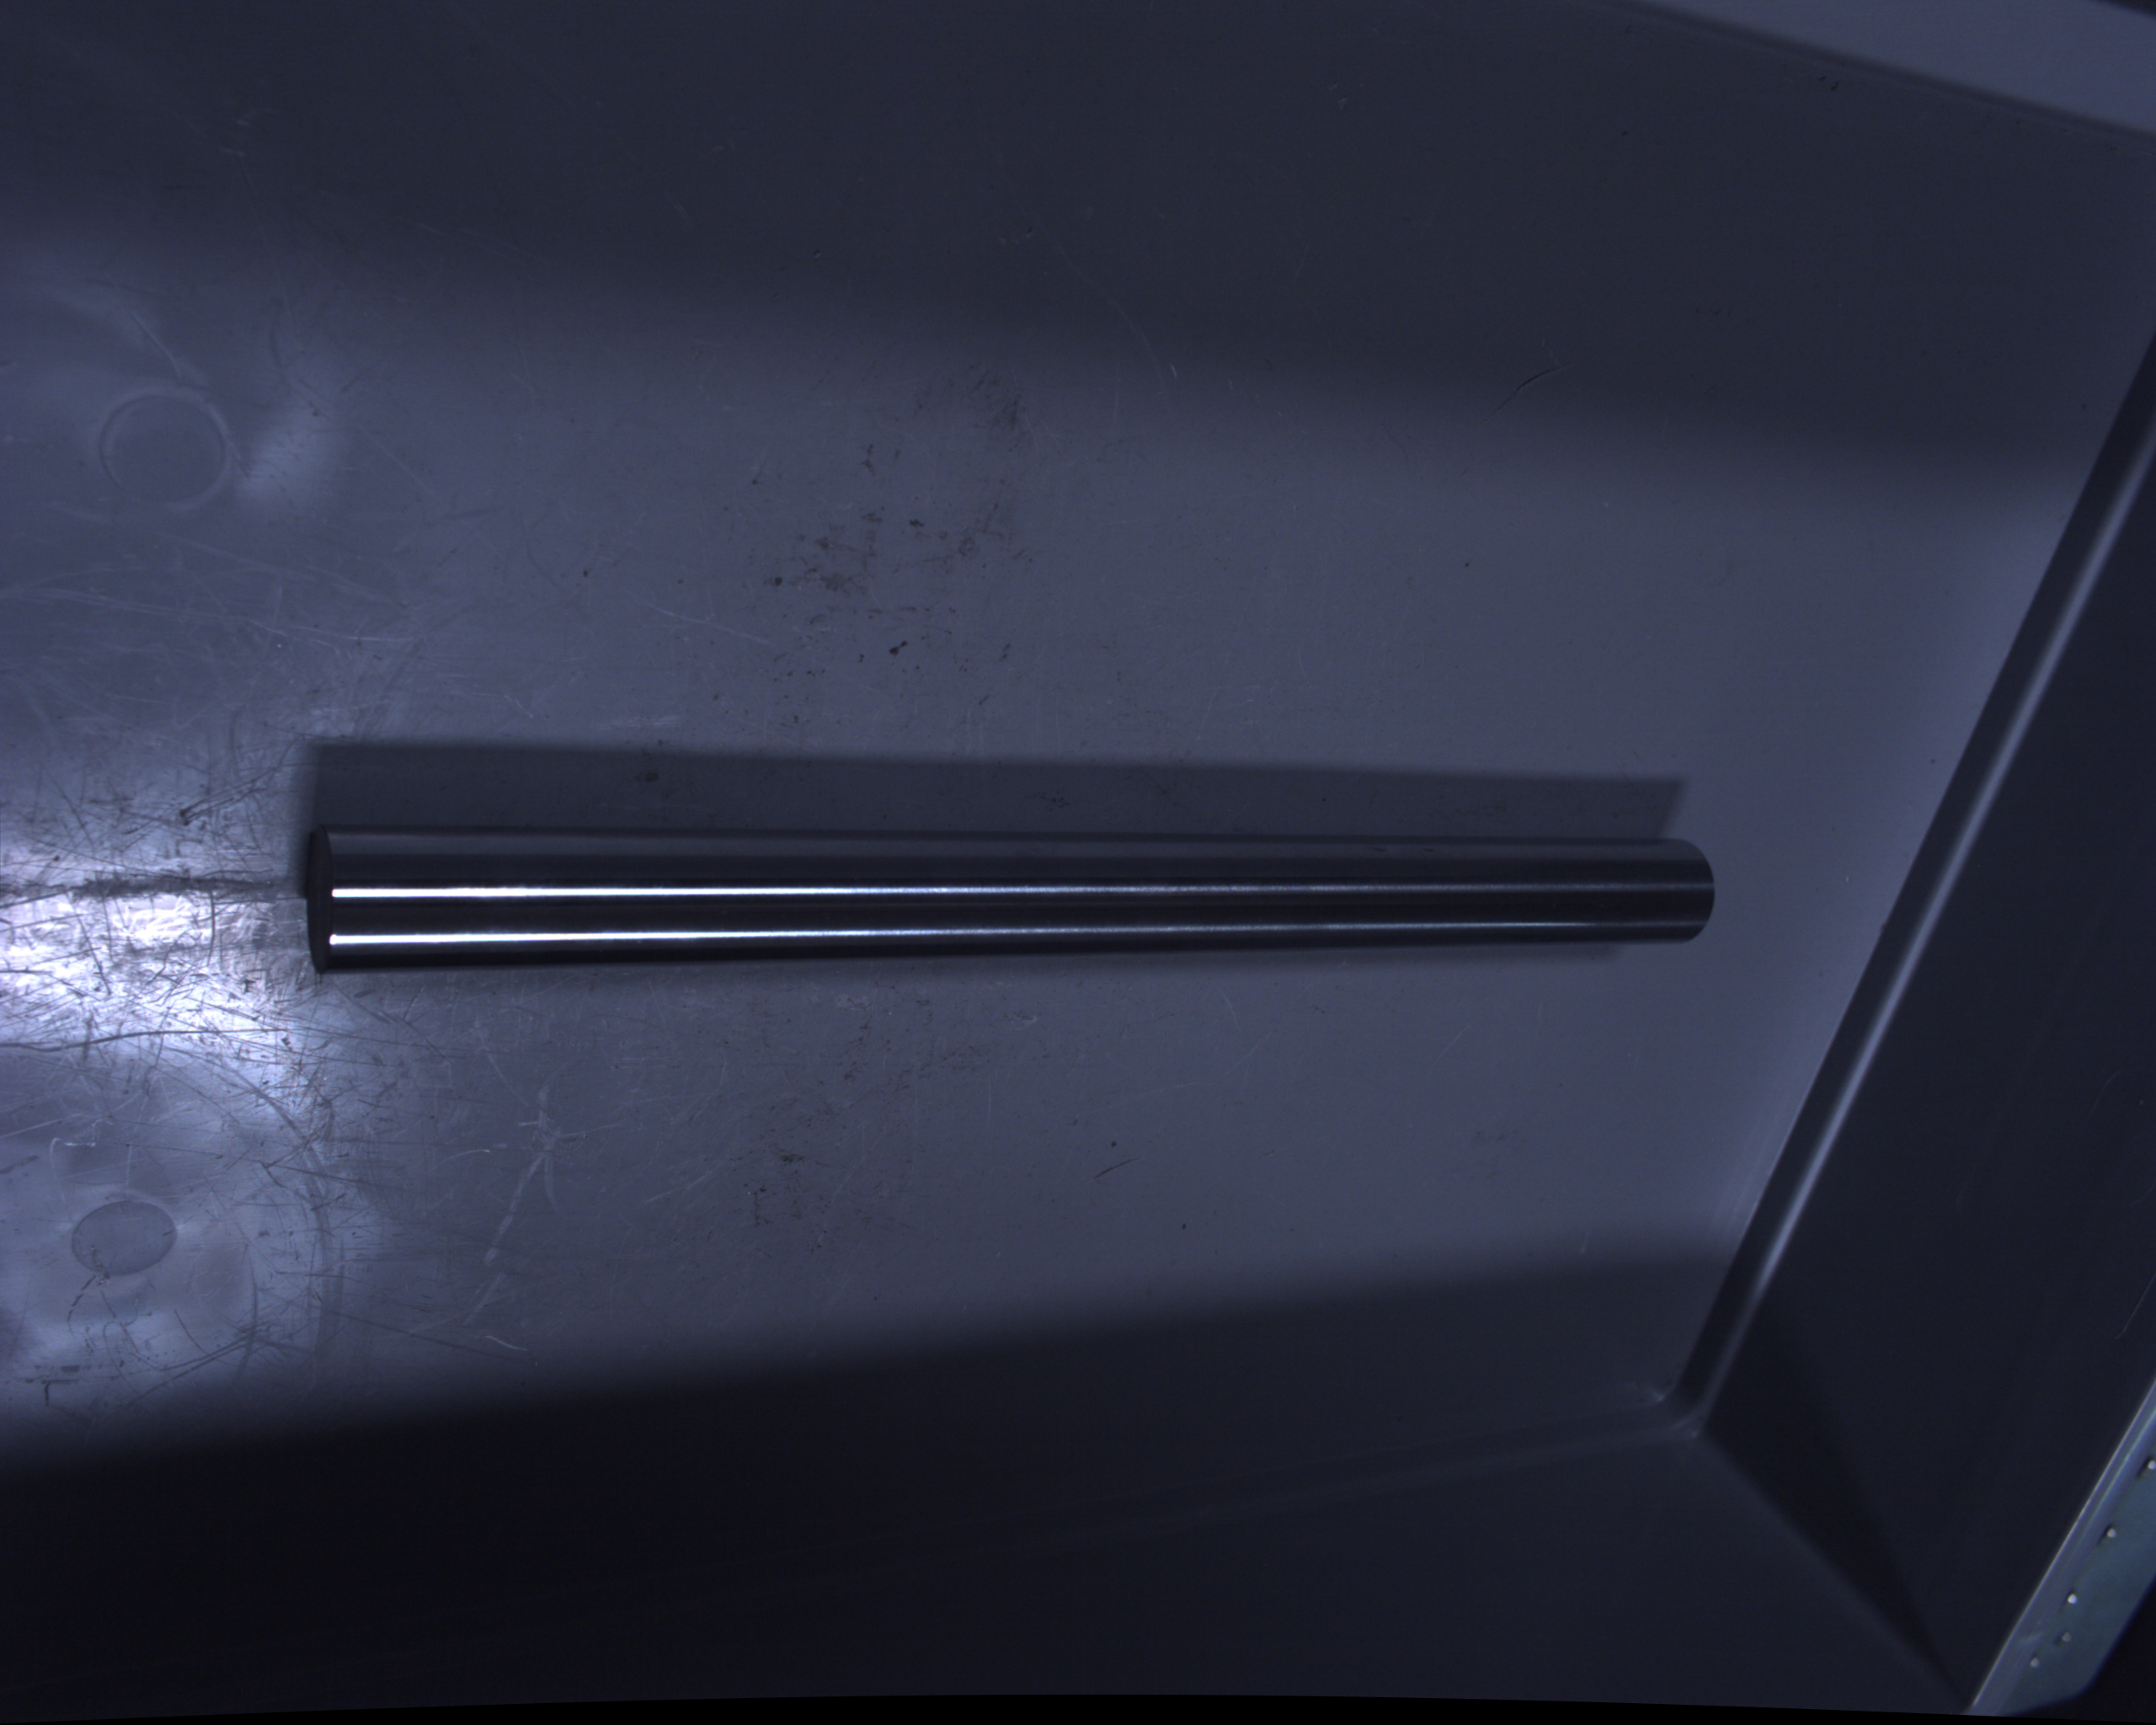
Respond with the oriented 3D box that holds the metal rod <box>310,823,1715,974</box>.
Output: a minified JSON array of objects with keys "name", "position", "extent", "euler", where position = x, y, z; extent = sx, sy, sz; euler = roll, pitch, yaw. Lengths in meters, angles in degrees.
[{"name":"metal rod","position":[0.008,0.006,0.416],"extent":[0.303,0.025,0.025],"euler":[0,118,-29]}]
